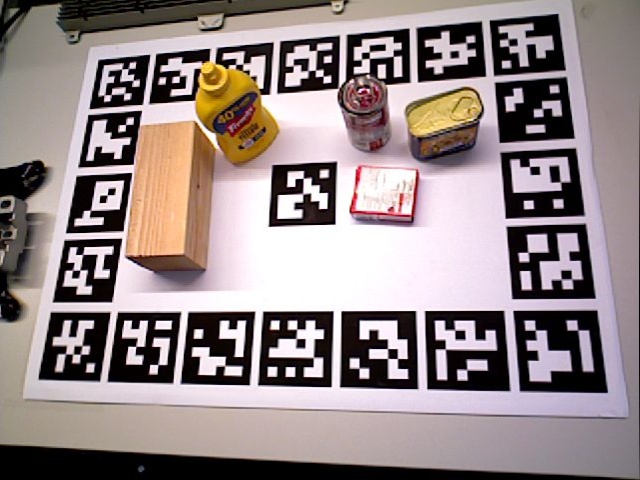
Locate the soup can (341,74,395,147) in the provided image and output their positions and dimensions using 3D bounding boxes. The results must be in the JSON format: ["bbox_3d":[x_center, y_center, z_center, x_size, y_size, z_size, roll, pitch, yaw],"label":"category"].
[{"bbox_3d":[0.070,-0.182,0.755,0.068,0.102,0.067,-3,72,10],"label":"soup can"}]

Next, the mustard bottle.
[{"bbox_3d":[-0.126,-0.179,0.760,0.096,0.193,0.058,-25,68,-1],"label":"mustard bottle"}]

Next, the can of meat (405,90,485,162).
[{"bbox_3d":[0.168,-0.157,0.747,0.102,0.084,0.057,-14,70,3],"label":"can of meat"}]

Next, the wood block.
[{"bbox_3d":[-0.218,-0.061,0.791,0.091,0.091,0.204,0,68,9],"label":"wood block"}]

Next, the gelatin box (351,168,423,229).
[{"bbox_3d":[0.093,-0.058,0.754,0.089,0.030,0.073,8,76,16],"label":"gelatin box"}]
